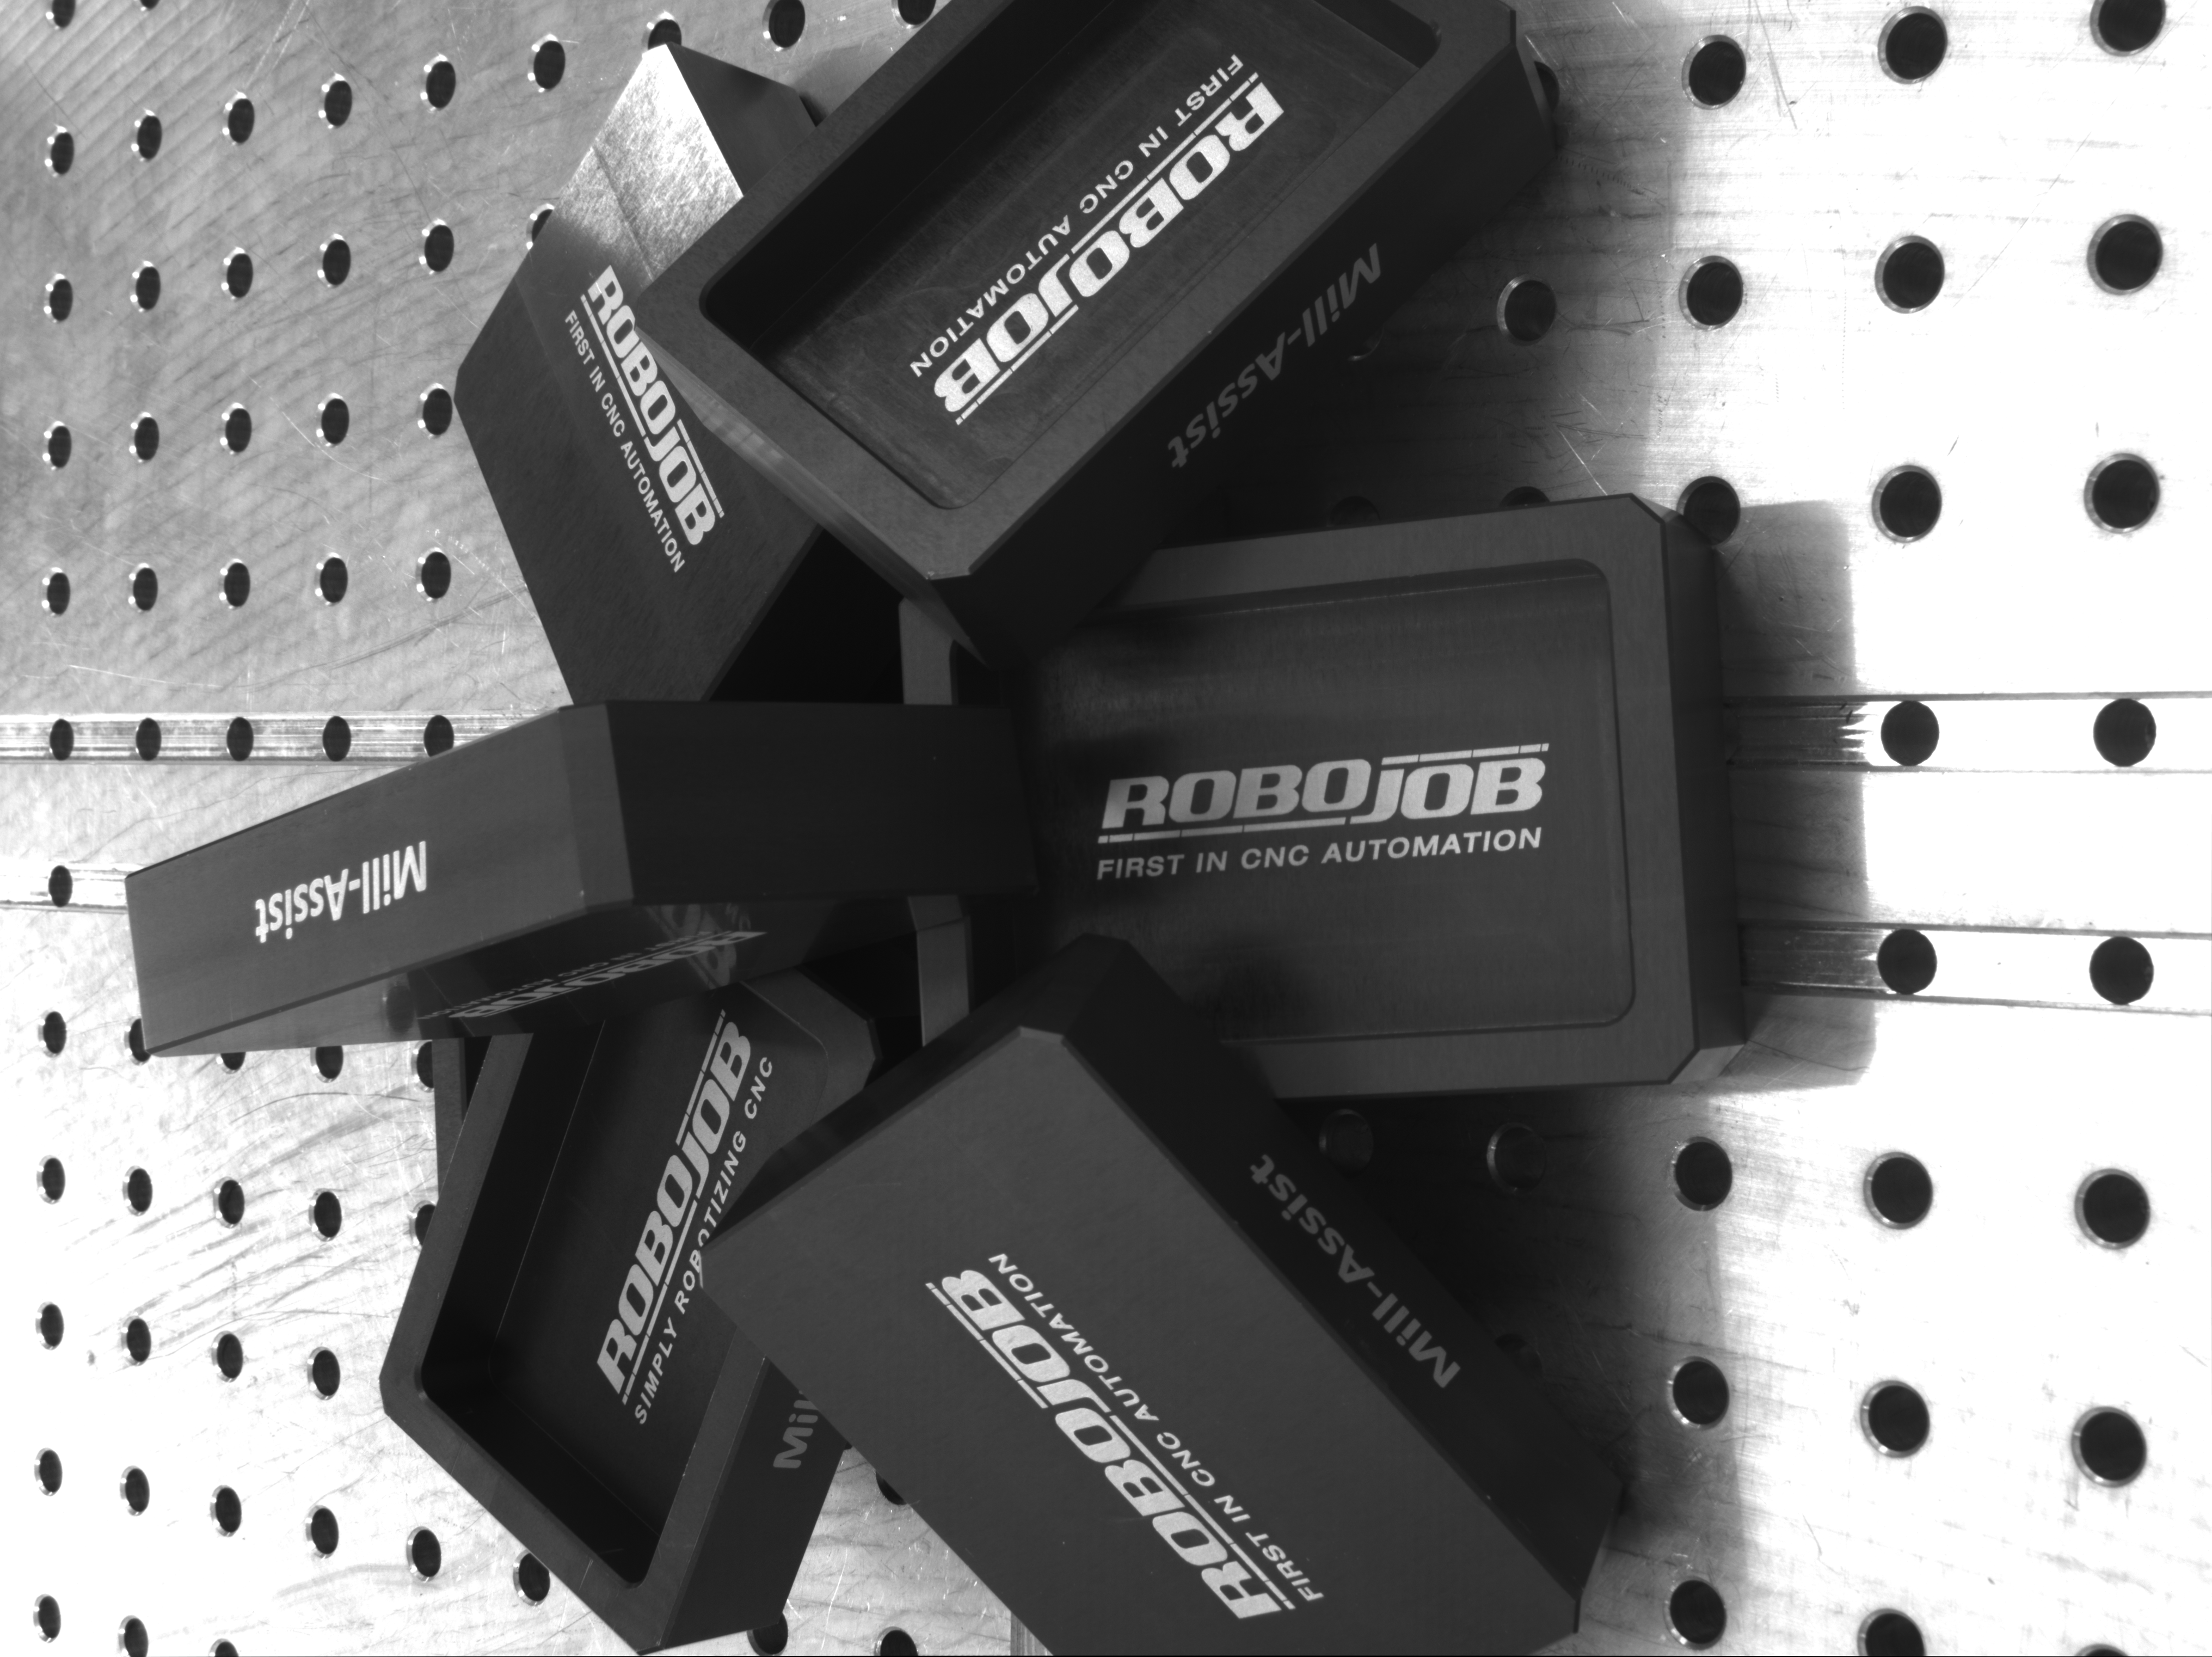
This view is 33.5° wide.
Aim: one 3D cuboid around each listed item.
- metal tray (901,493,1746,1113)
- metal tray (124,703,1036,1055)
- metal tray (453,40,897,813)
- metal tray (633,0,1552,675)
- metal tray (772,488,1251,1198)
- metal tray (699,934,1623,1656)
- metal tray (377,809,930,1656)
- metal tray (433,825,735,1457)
[{"bbox_3d":[0.034,-0.001,0.593,0.130,0.030,0.090,-5,87,23],"label":"metal tray"},{"bbox_3d":[-0.086,0.010,0.594,0.130,0.090,0.030,-17,79,43],"label":"metal tray"},{"bbox_3d":[-0.075,-0.074,0.687,0.090,0.030,0.130,-53,43,27],"label":"metal tray"},{"bbox_3d":[-0.003,-0.098,0.604,0.130,0.030,0.090,-45,57,-7],"label":"metal tray"},{"bbox_3d":[-0.019,0.003,0.662,0.090,0.030,0.130,-6,84,38],"label":"metal tray"},{"bbox_3d":[0.008,0.090,0.595,0.130,0.030,0.090,48,125,-9],"label":"metal tray"},{"bbox_3d":[-0.080,0.072,0.673,0.090,0.030,0.130,33,111,35],"label":"metal tray"},{"bbox_3d":[-0.092,0.056,0.723,0.090,0.030,0.130,-6,86,39],"label":"metal tray"}]
